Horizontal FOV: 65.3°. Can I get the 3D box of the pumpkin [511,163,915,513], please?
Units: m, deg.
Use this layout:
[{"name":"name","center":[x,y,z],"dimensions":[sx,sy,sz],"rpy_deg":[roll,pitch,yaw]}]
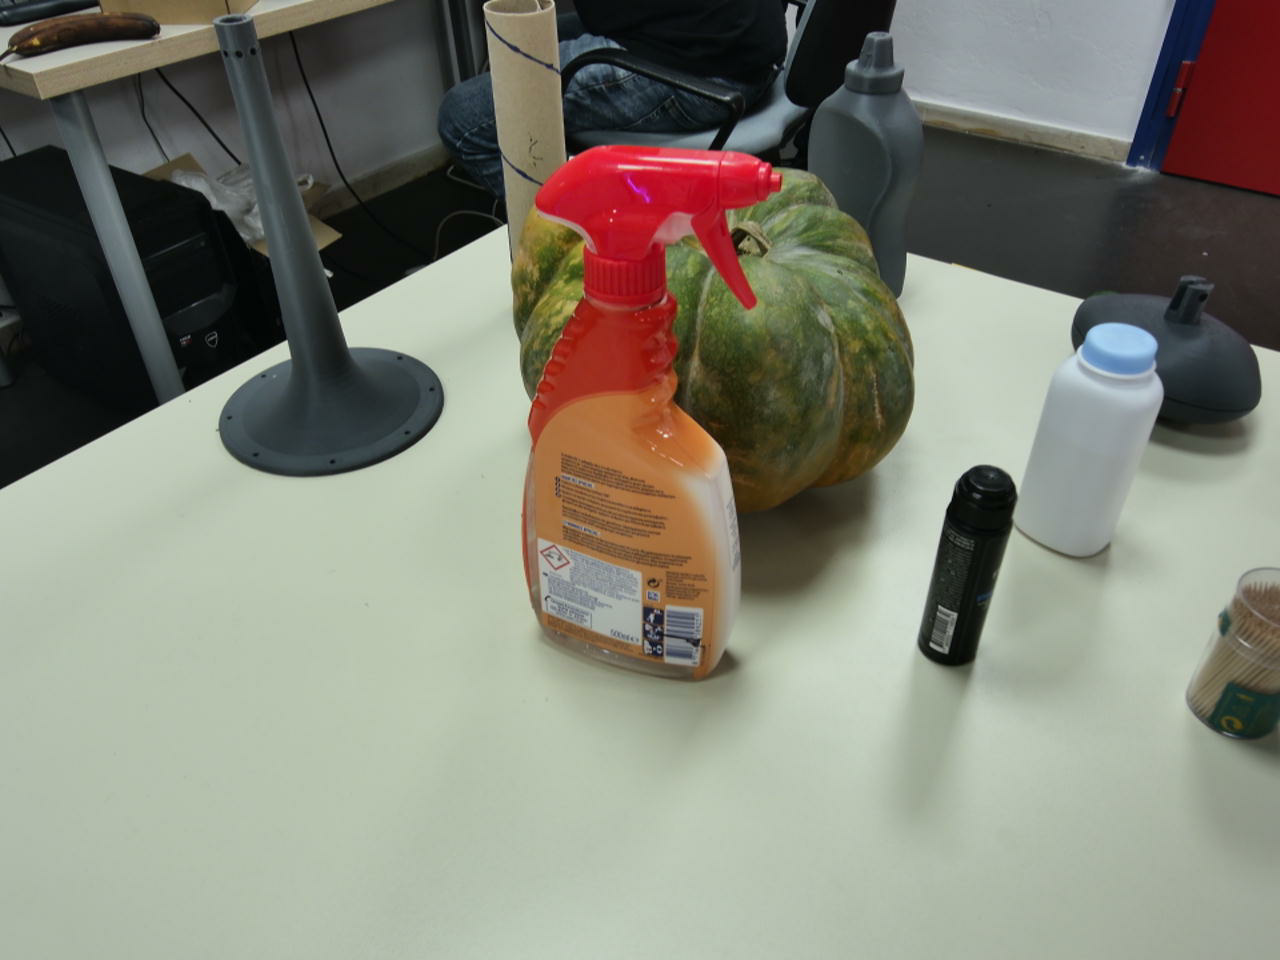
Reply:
[{"name":"pumpkin","center":[0.045,-0.093,0.603],"dimensions":[0.237,0.173,0.270],"rpy_deg":[-10,39,-12]}]
